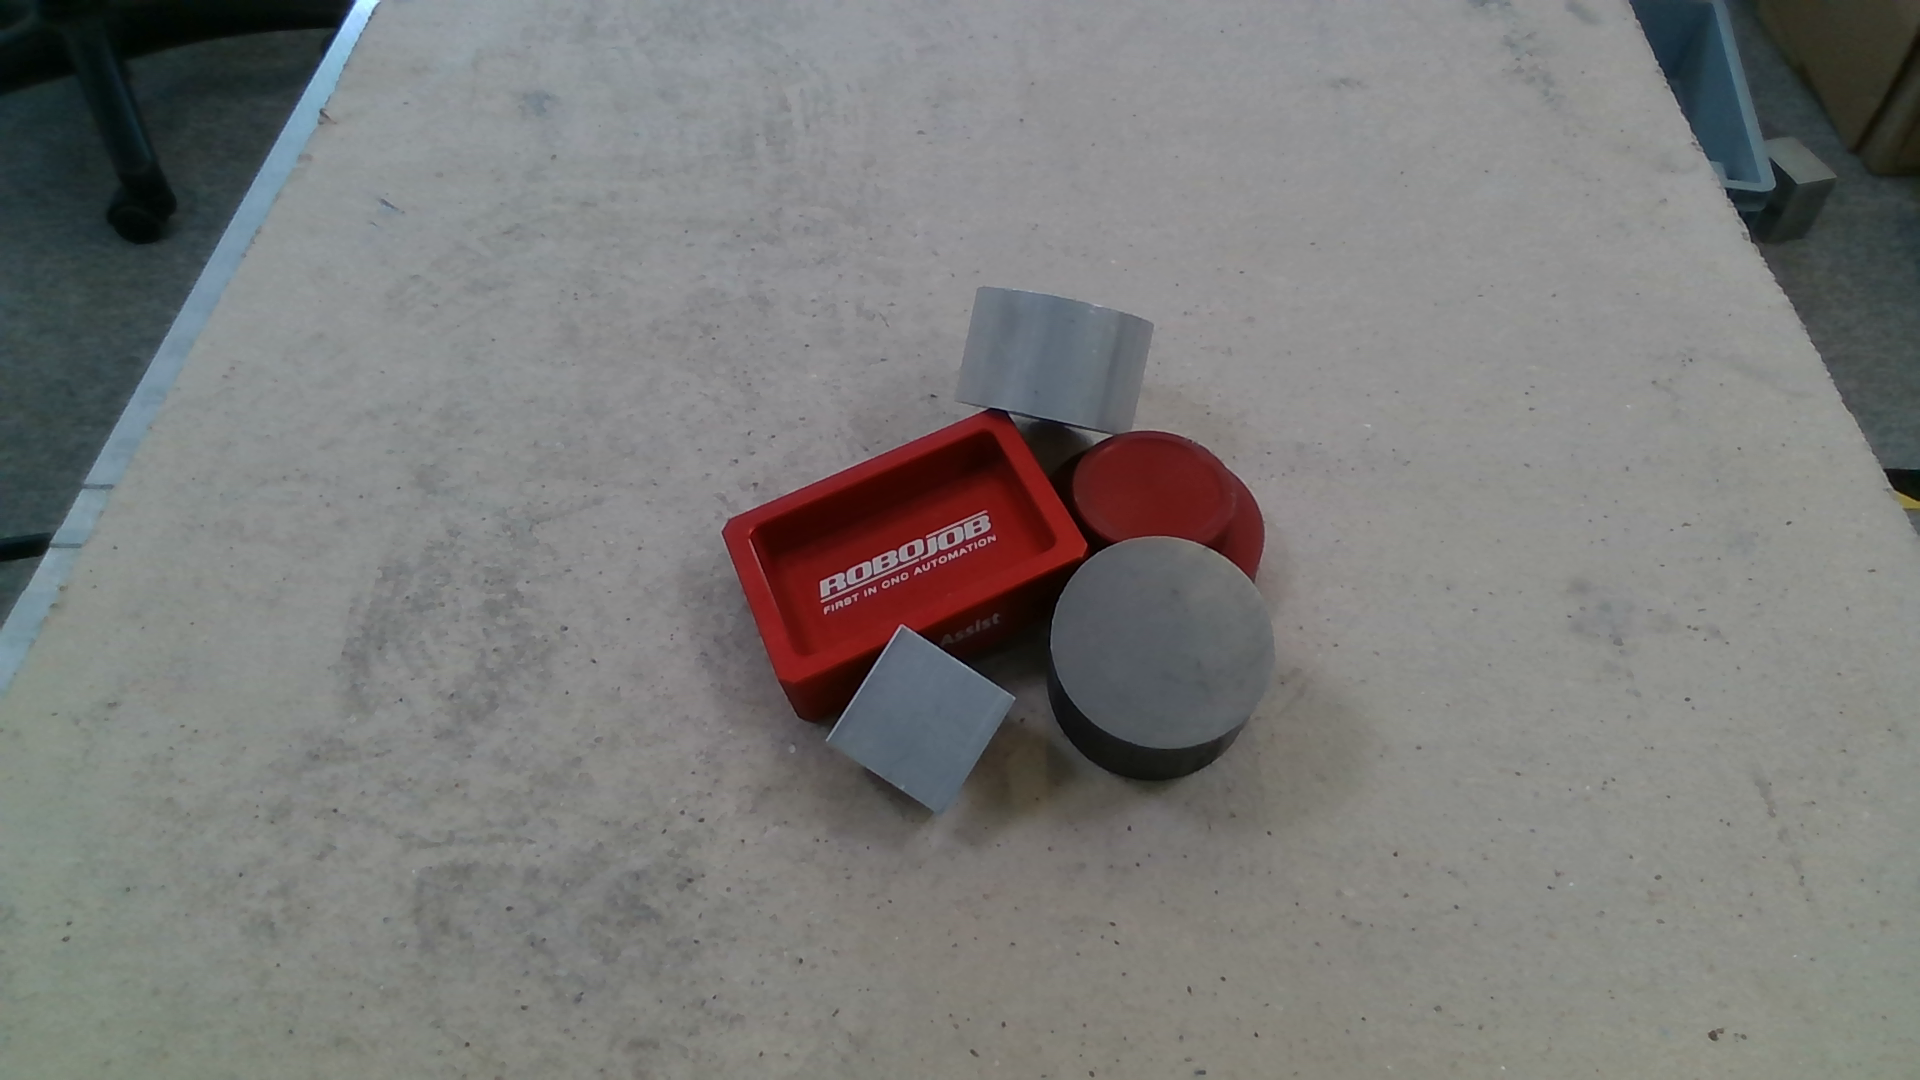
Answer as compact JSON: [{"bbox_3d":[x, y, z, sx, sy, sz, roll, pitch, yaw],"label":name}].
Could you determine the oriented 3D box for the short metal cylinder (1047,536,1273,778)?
[{"bbox_3d":[0.074,0.045,0.520,0.080,0.050,0.080,-1,68,2],"label":"short metal cylinder"}]

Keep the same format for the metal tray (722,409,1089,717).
[{"bbox_3d":[-0.022,0.006,0.564,0.130,0.030,0.090,-23,53,-6],"label":"metal tray"}]

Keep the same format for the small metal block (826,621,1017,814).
[{"bbox_3d":[-0.015,0.065,0.510,0.050,0.025,0.050,34,83,-2],"label":"small metal block"}]

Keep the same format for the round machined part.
[{"bbox_3d":[0.080,-0.009,0.584,0.098,0.042,0.098,0,50,0],"label":"round machined part"}]

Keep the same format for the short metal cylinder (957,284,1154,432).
[{"bbox_3d":[0.041,-0.079,0.609,0.080,0.080,0.050,13,95,10],"label":"short metal cylinder"}]
